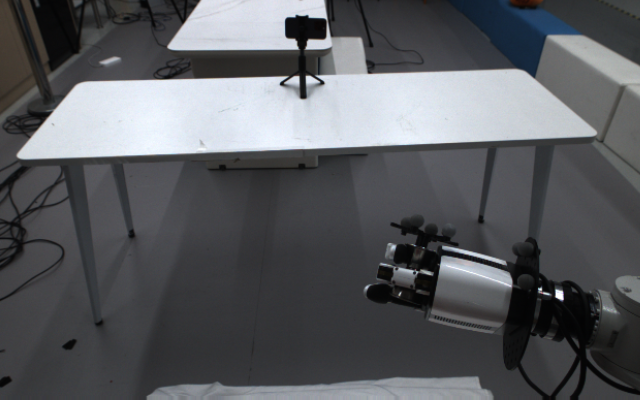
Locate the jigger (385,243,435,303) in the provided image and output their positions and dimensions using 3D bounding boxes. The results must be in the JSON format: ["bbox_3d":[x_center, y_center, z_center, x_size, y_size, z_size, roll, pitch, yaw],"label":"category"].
[{"bbox_3d":[0.118,0.091,0.608,0.043,0.071,0.043,19,-6,2],"label":"jigger"}]
